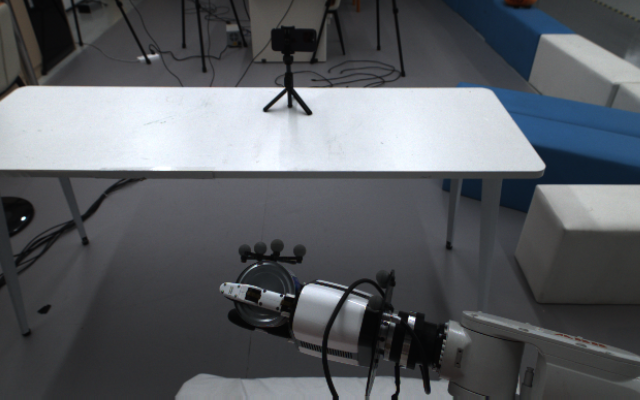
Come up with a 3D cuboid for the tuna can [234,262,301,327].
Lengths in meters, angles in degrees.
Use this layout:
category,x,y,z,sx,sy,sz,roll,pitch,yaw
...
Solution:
category,x,y,z,sx,sy,sz,roll,pitch,yaw
tuna can,-0.068,0.125,0.641,0.085,0.034,0.085,-5,71,14
